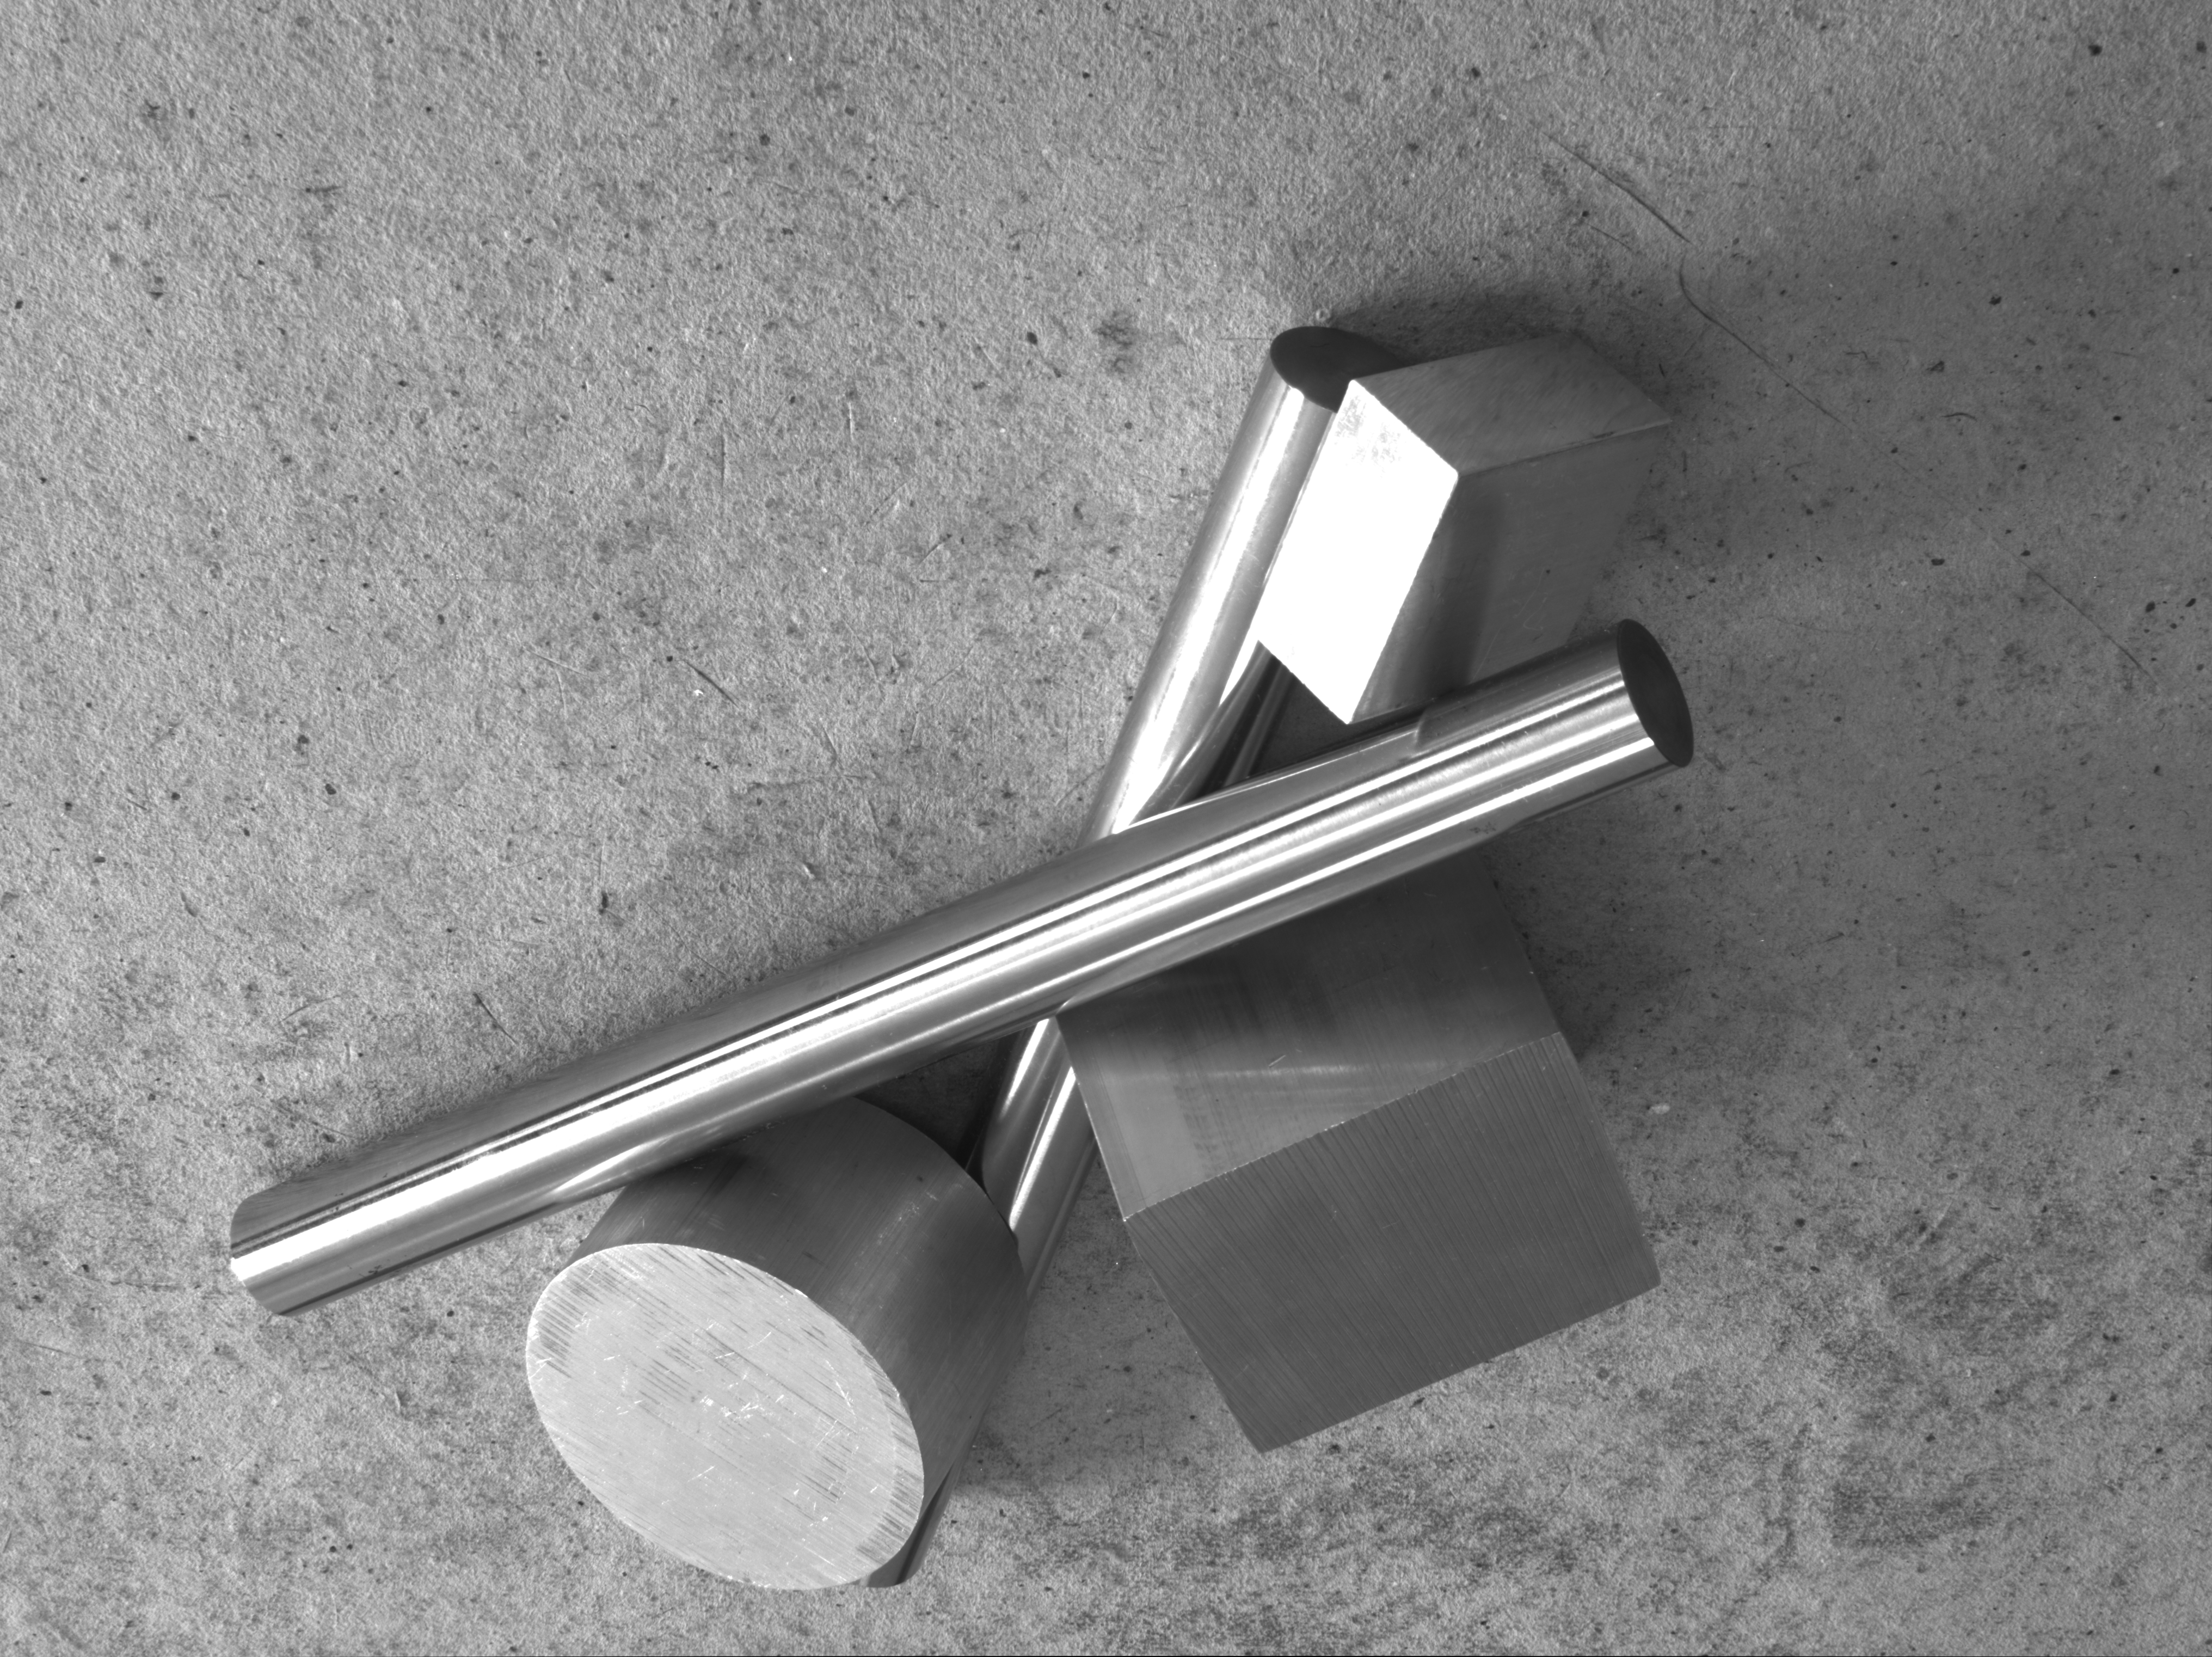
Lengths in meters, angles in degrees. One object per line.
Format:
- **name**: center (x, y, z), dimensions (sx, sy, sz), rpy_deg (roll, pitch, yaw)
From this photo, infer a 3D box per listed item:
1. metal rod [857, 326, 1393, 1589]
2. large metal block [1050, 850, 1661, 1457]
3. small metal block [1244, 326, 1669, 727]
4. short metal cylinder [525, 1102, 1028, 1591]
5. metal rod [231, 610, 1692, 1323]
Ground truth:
- **metal rod**: center (-0.006, 0.038, 0.671), dimensions (0.025, 0.025, 0.300), rpy_deg (13, 129, -11)
- **large metal block**: center (0.044, 0.056, 0.652), dimensions (0.080, 0.050, 0.080), rpy_deg (-24, 136, 3)
- **small metal block**: center (0.055, -0.048, 0.583), dimensions (0.050, 0.025, 0.050), rpy_deg (-18, 142, -39)
- **short metal cylinder**: center (-0.061, 0.095, 0.687), dimensions (0.080, 0.050, 0.080), rpy_deg (11, 125, 17)
- **metal rod**: center (-0.037, 0.030, 0.643), dimensions (0.299, 0.025, 0.025), rpy_deg (-23, 126, 27)
